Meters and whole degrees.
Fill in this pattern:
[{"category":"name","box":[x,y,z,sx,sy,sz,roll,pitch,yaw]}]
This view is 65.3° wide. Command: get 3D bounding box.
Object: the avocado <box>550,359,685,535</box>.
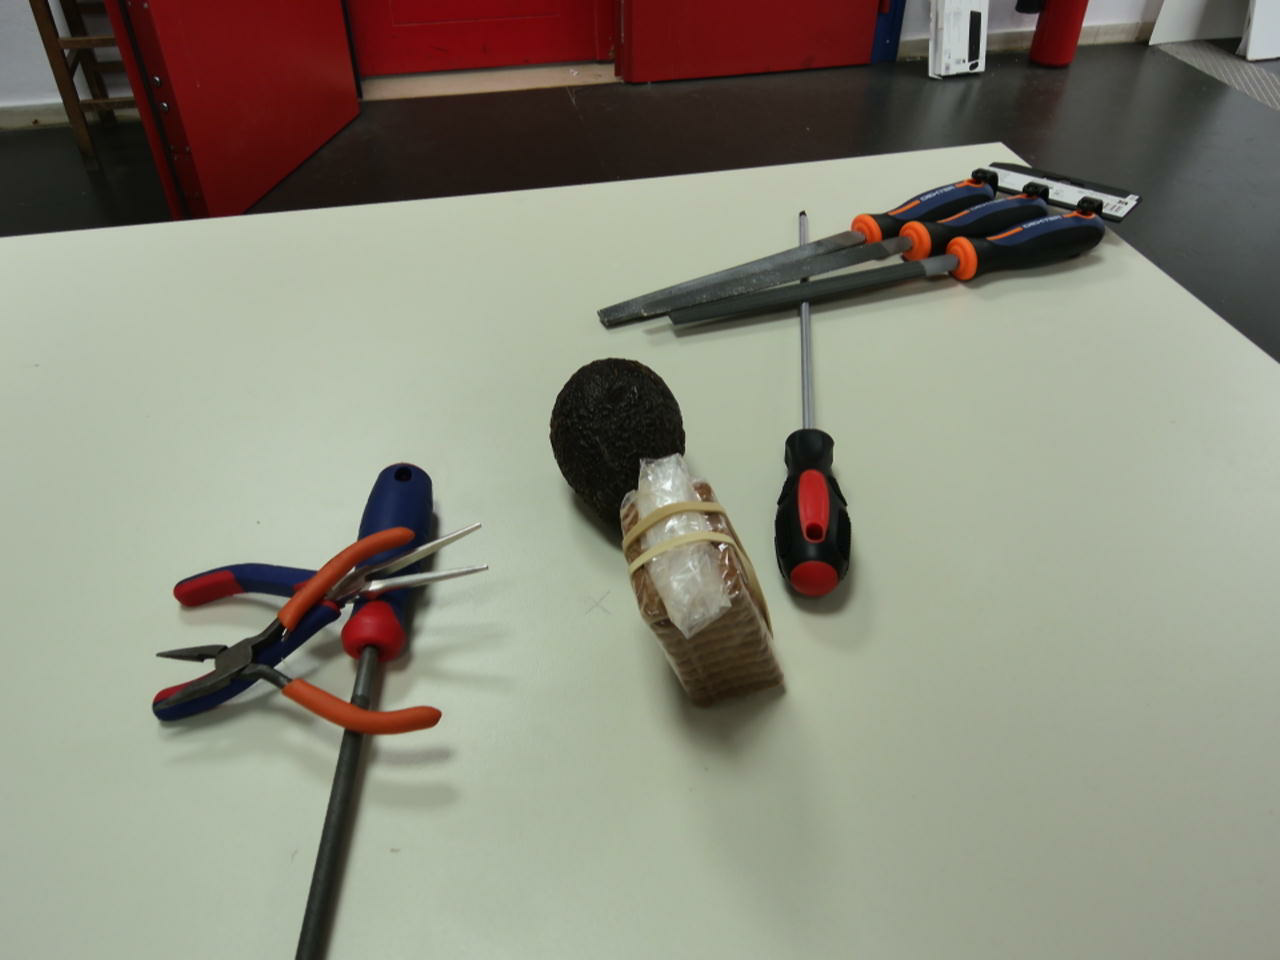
[{"category":"avocado","box":[-0.012,-0.021,0.508,0.070,0.069,0.090,7,39,9]}]
